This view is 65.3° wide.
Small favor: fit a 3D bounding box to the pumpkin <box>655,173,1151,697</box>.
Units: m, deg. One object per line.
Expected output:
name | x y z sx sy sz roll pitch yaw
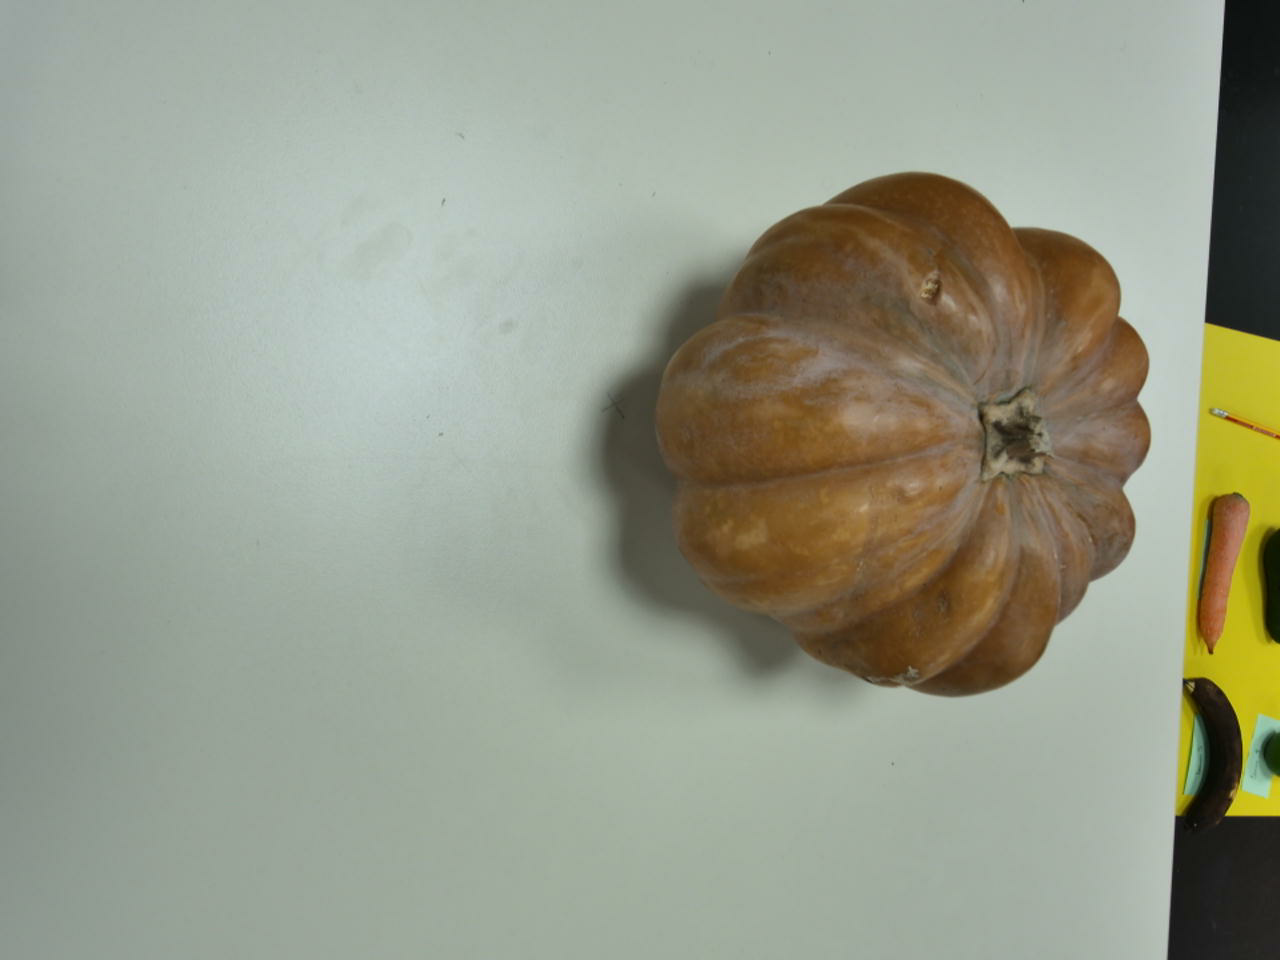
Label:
pumpkin | 0.140 -0.023 0.528 0.277 0.181 0.277 0 91 -23
